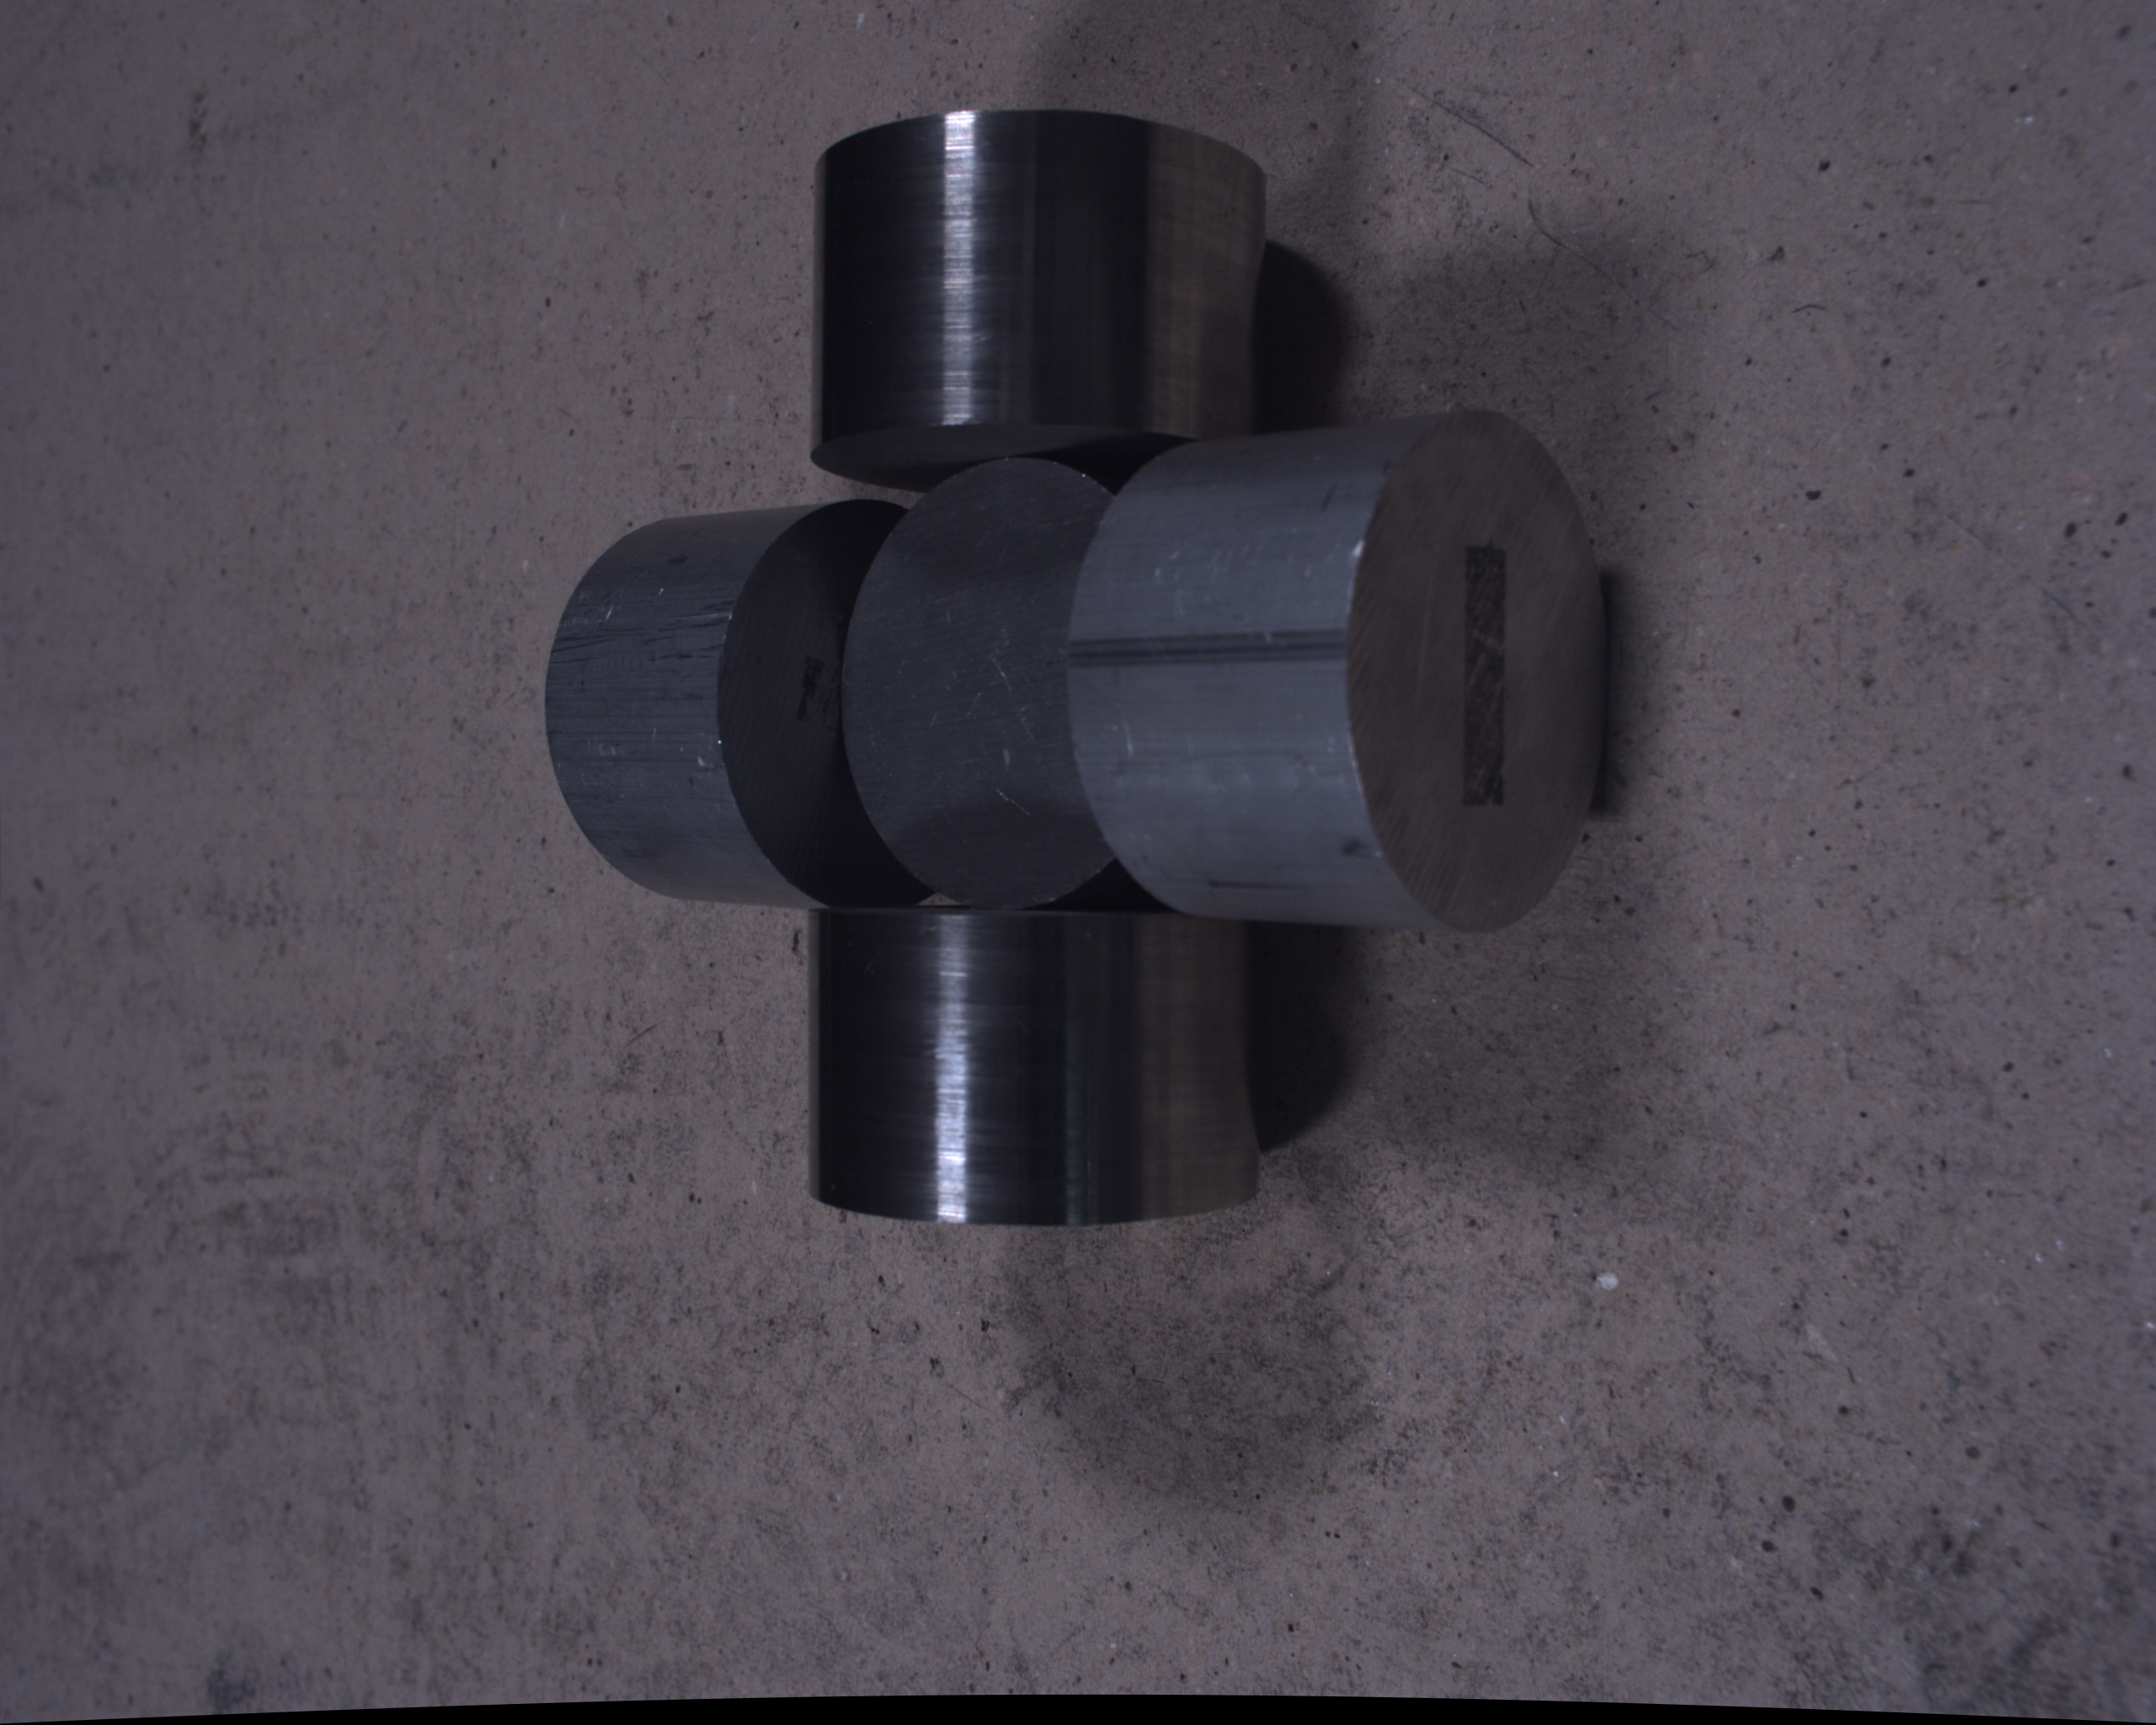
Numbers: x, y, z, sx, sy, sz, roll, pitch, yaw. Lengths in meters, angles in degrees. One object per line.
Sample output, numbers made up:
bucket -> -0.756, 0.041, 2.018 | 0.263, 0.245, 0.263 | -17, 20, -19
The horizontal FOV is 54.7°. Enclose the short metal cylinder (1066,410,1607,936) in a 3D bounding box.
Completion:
short metal cylinder -> 0.043, -0.030, 0.334 | 0.050, 0.081, 0.079 | 3, 92, 40

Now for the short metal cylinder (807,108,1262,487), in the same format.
short metal cylinder -> -0.008, -0.097, 0.374 | 0.080, 0.081, 0.050 | 2, 92, 39

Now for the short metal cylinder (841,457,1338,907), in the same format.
short metal cylinder -> 0.002, -0.032, 0.387 | 0.080, 0.050, 0.079 | 0, 90, 39

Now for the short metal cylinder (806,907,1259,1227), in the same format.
short metal cylinder -> -0.008, 0.034, 0.375 | 0.080, 0.081, 0.050 | 1, 90, 39

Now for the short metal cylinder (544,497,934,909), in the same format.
short metal cylinder -> -0.058, -0.031, 0.416 | 0.050, 0.081, 0.079 | 3, 92, 40
